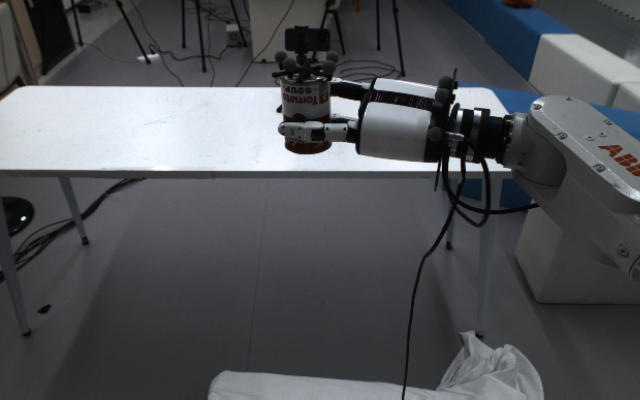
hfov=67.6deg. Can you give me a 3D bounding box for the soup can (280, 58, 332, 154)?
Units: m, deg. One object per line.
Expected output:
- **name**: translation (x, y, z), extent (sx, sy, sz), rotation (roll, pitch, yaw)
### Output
- **soup can**: translation (-0.018, -0.123, 0.661), extent (0.067, 0.101, 0.067), rotation (-2, 34, 1)
